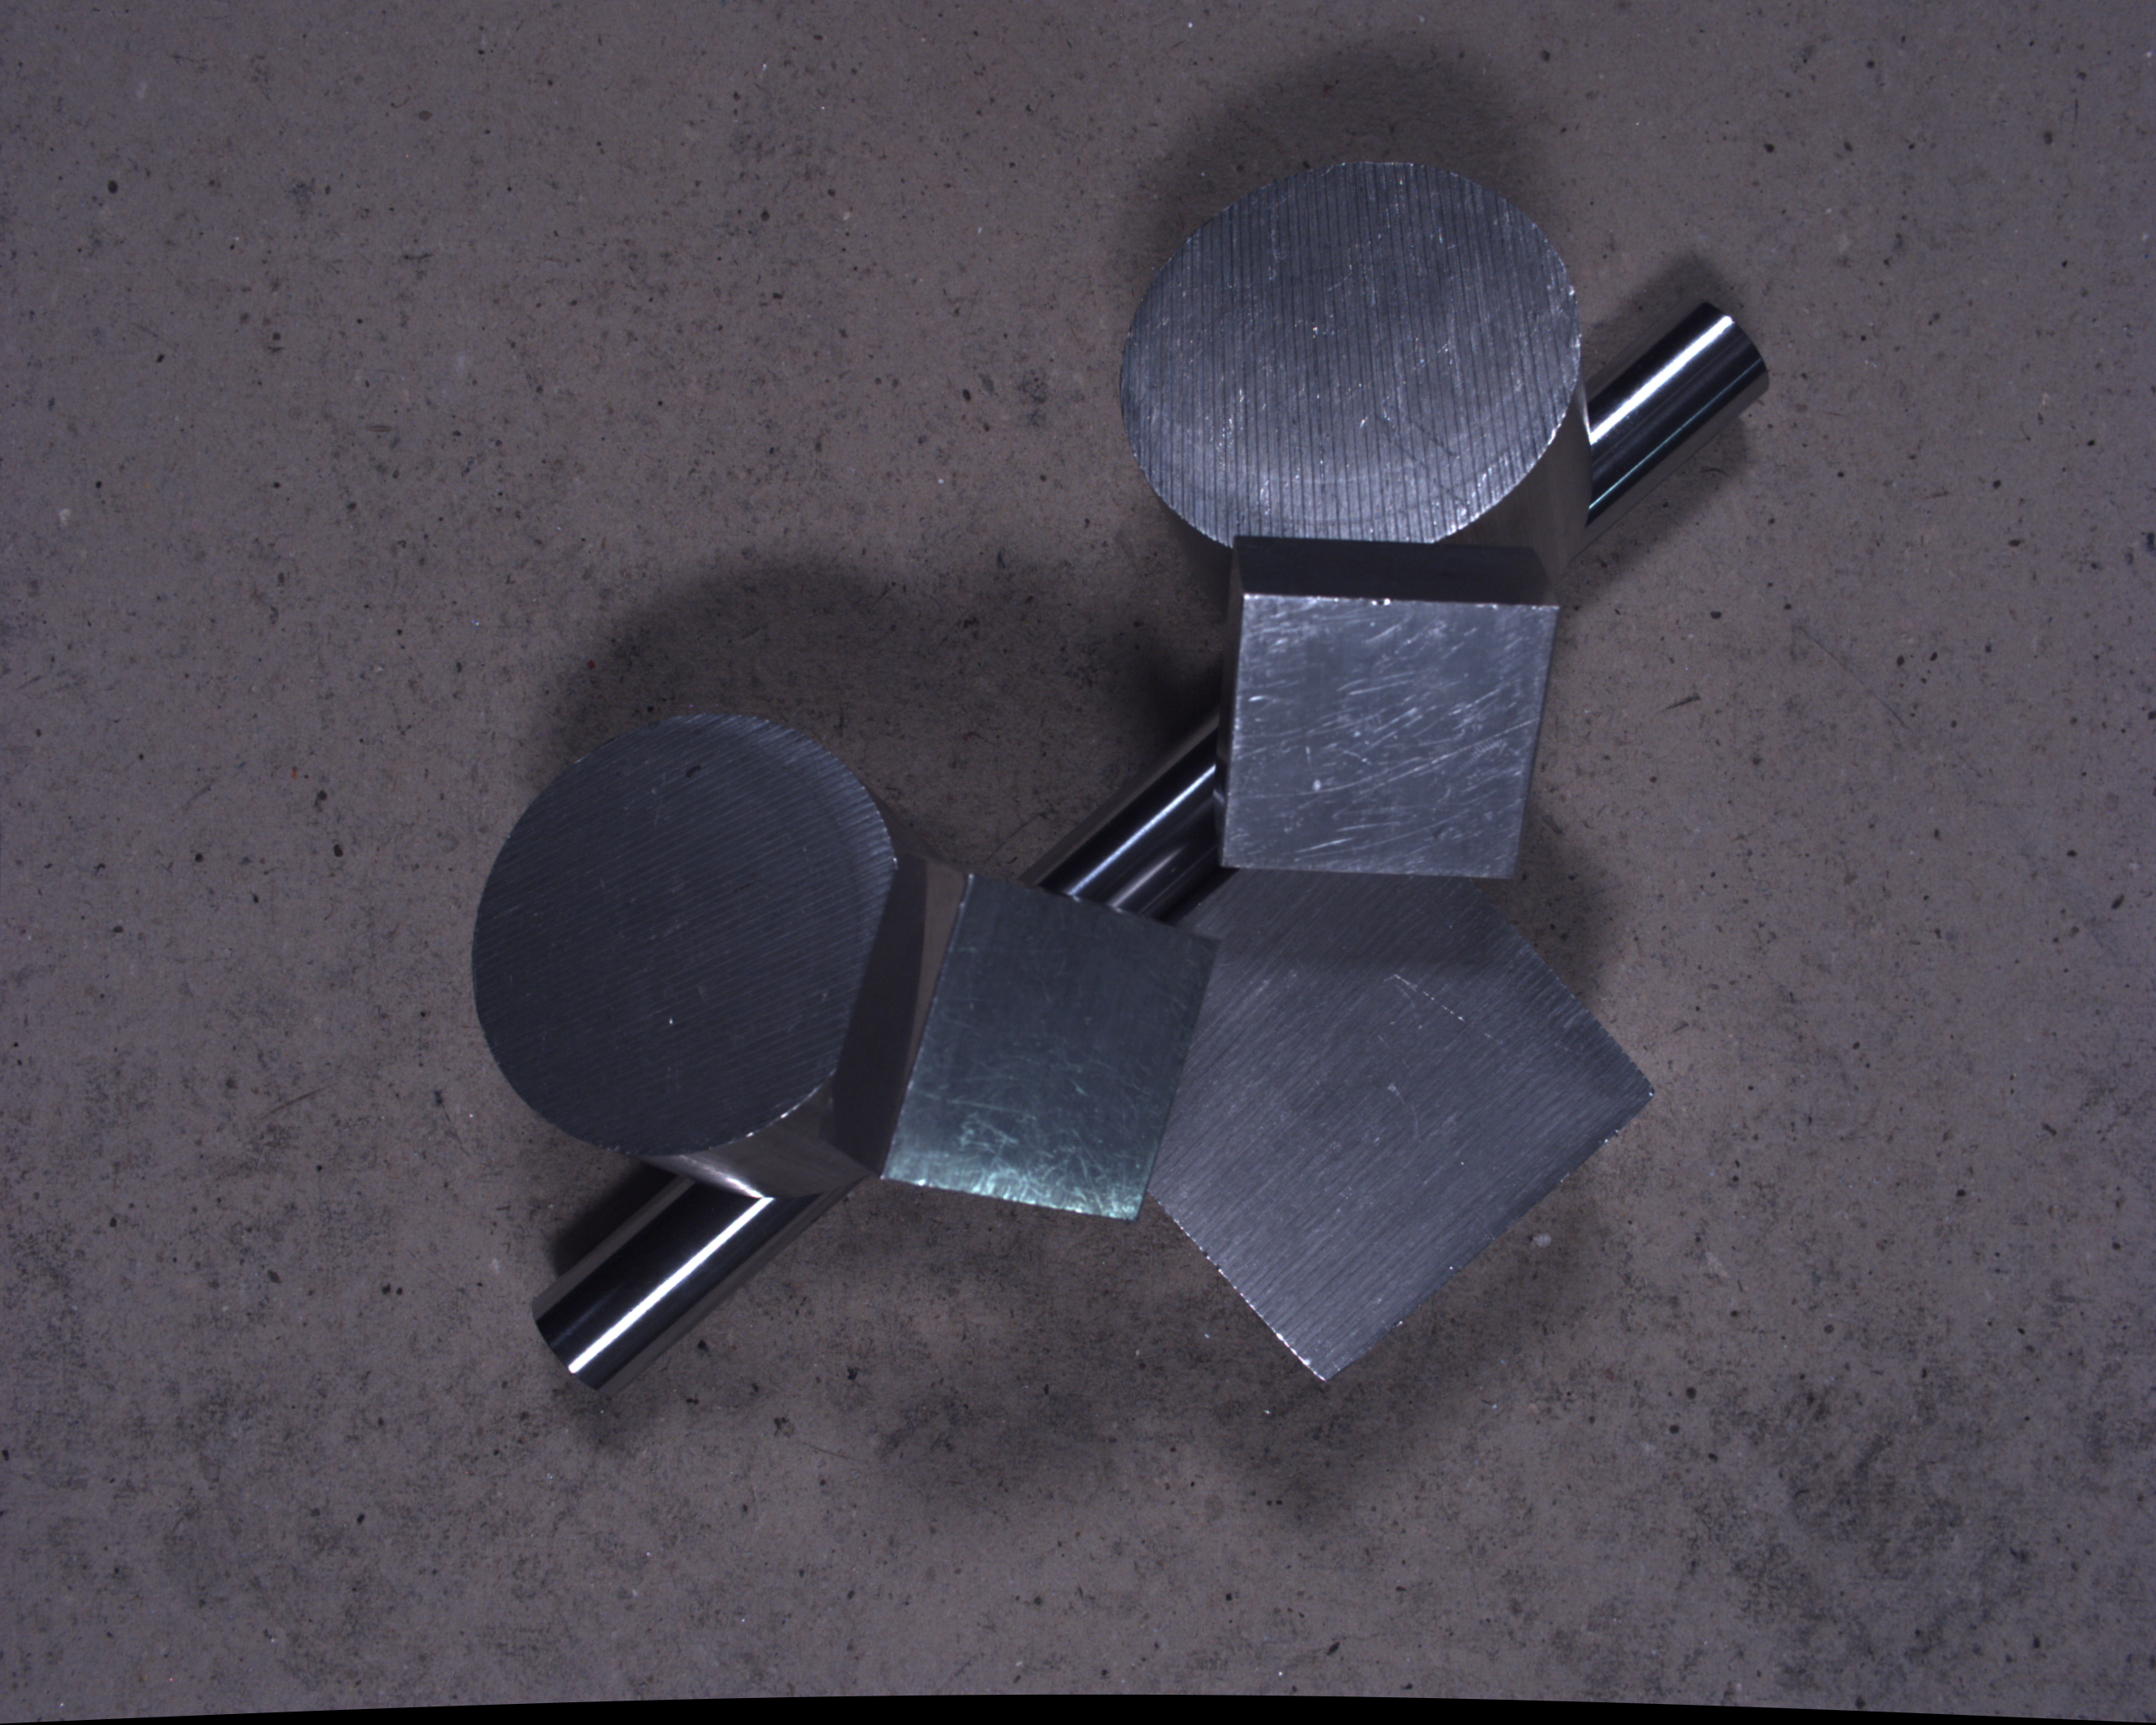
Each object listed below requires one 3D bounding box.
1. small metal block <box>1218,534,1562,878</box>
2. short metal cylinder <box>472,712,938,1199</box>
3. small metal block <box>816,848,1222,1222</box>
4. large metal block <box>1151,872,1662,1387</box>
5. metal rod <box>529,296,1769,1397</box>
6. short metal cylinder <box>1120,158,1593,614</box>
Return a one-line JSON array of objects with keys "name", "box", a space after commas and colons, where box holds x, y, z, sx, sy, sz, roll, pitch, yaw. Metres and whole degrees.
[{"name": "small metal block", "box": [0.050, -0.026, 0.349, 0.050, 0.025, 0.050, 2, 121, -1]}, {"name": "short metal cylinder", "box": [-0.062, 0.018, 0.384, 0.080, 0.050, 0.080, -5, 71, 14]}, {"name": "small metal block", "box": [-0.010, 0.029, 0.349, 0.050, 0.025, 0.050, 16, 90, -33]}, {"name": "large metal block", "box": [0.048, 0.037, 0.398, 0.080, 0.050, 0.080, -41, 91, 0]}, {"name": "metal rod", "box": [0.014, -0.003, 0.411, 0.300, 0.025, 0.025, -41, 91, -1]}, {"name": "short metal cylinder", "box": [0.053, -0.081, 0.384, 0.080, 0.050, 0.080, -5, 71, 14]}]
